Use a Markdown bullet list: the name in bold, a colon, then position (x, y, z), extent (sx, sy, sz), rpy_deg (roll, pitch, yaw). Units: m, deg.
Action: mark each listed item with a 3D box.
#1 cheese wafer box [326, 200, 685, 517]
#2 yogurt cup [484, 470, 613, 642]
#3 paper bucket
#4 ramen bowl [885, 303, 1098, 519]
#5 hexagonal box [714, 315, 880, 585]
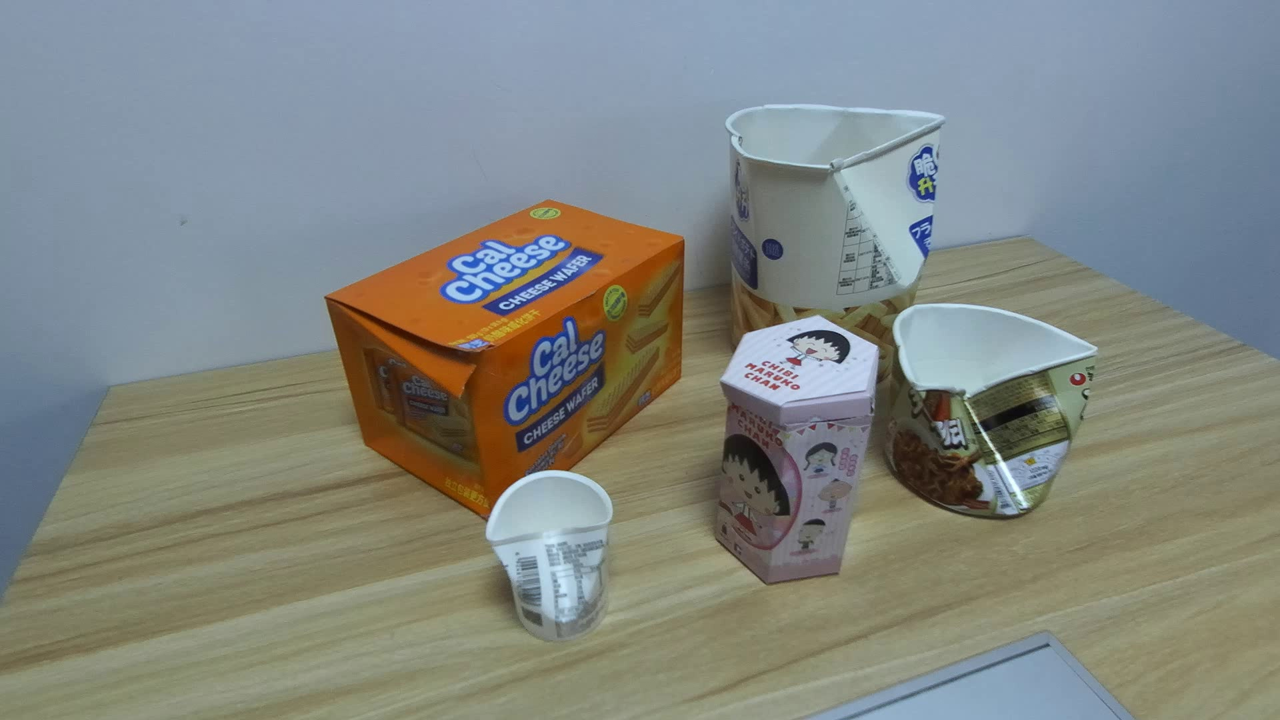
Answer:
- **cheese wafer box**: position (-0.086, -0.016, 0.528), extent (0.149, 0.137, 0.228), rpy_deg (22, 39, 30)
- **yogurt cup**: position (-0.046, 0.109, 0.392), extent (0.067, 0.070, 0.067), rpy_deg (-2, 34, 2)
- **paper bucket**: position (0.149, -0.087, 0.576), extent (0.168, 0.202, 0.162), rpy_deg (5, 36, 14)
- **ramen bowl**: position (0.234, 0.030, 0.489), extent (0.137, 0.098, 0.137), rpy_deg (1, 33, 0)
- **hexagonal box**: position (0.091, 0.053, 0.414), extent (0.085, 0.135, 0.091), rpy_deg (-23, 40, -29)
